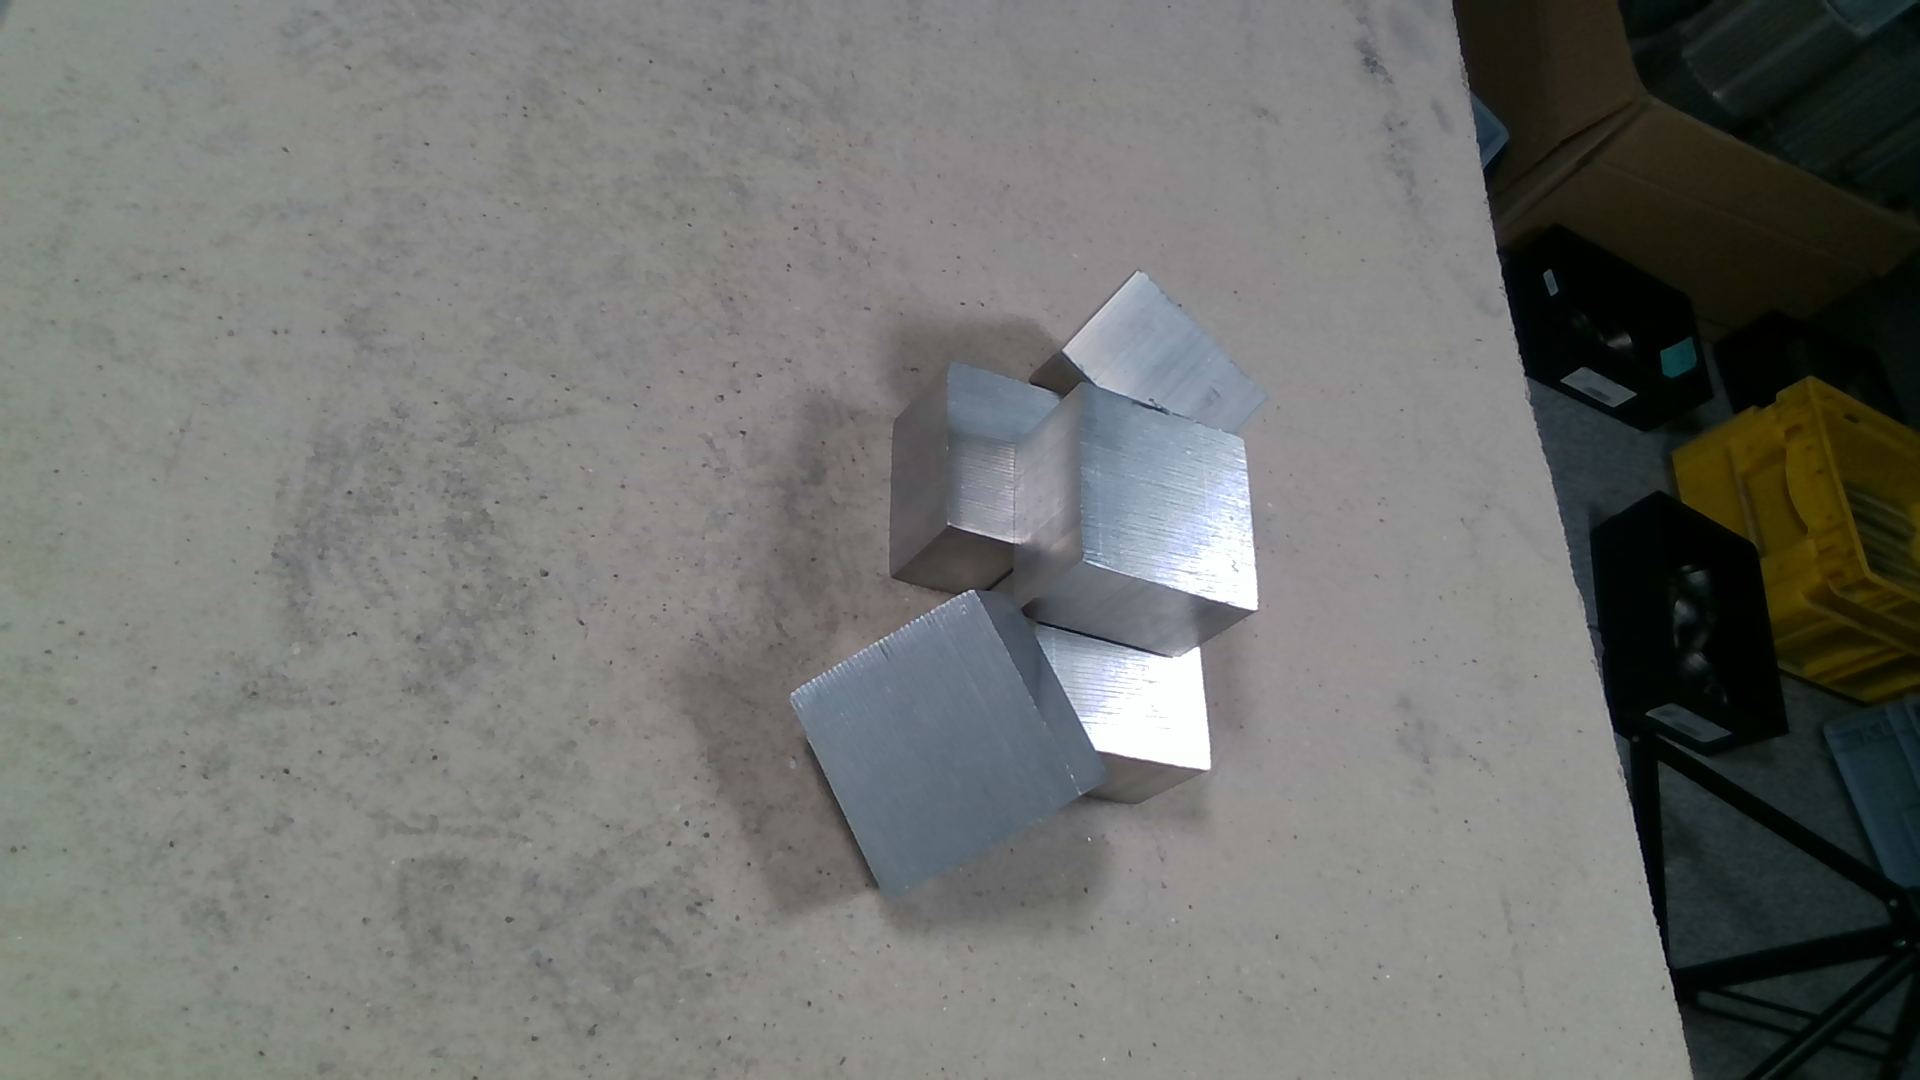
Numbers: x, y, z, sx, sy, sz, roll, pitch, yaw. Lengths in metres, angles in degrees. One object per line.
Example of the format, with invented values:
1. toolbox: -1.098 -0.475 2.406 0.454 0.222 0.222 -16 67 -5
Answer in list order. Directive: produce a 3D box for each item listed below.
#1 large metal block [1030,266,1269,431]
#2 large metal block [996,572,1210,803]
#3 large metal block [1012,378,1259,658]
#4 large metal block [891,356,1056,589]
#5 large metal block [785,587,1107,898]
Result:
1. large metal block: 0.083 -0.071 0.631 0.080 0.080 0.050 44 84 -4
2. large metal block: 0.053 0.059 0.572 0.080 0.050 0.080 14 59 -25
3. large metal block: 0.068 -0.007 0.549 0.080 0.050 0.080 16 58 -24
4. large metal block: 0.018 -0.022 0.591 0.080 0.050 0.080 14 59 -25
5. large metal block: -0.003 0.072 0.501 0.080 0.080 0.050 62 14 11
